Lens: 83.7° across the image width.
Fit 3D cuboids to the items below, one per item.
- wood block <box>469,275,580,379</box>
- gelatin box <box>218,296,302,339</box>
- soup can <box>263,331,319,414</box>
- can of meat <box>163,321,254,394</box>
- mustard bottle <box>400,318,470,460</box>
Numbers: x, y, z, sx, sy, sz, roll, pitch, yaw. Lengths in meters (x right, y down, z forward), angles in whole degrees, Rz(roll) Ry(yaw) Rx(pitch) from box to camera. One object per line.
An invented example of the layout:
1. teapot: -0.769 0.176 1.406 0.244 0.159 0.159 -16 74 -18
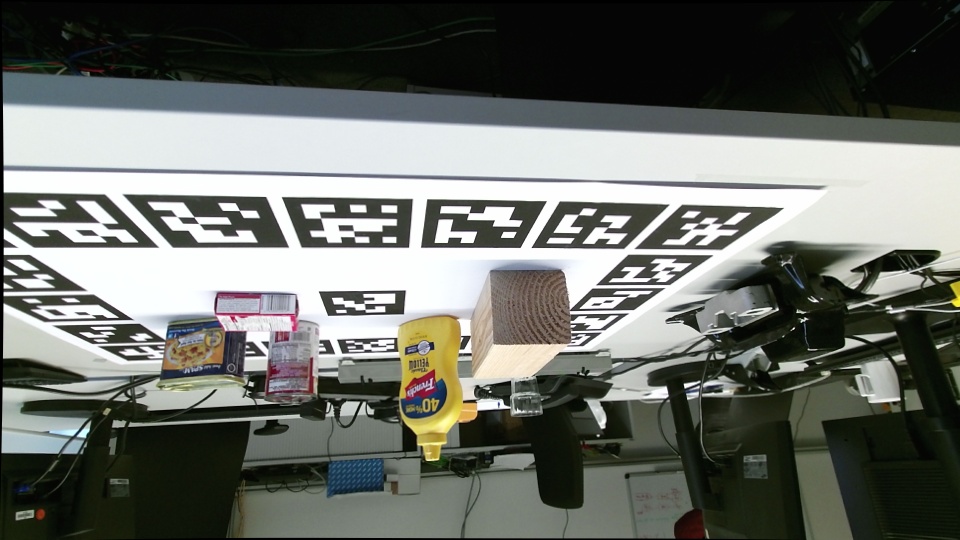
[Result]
1. wood block: 0.047 0.082 0.696 0.091 0.089 0.206 2 160 -10
2. gelatin box: -0.264 0.058 0.646 0.090 0.030 0.073 2 154 -21
3. soup can: -0.259 0.142 0.740 0.068 0.101 0.068 -5 155 -2
4. can of meat: -0.353 0.116 0.709 0.102 0.083 0.058 -4 156 4
5. mustard bottle: -0.064 0.167 0.756 0.096 0.190 0.058 -9 157 14
